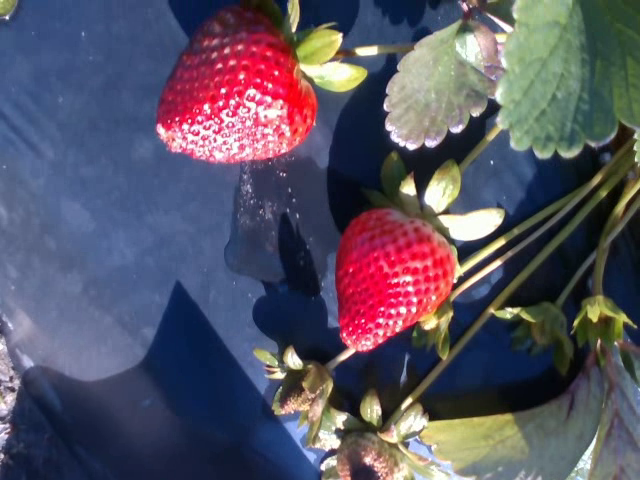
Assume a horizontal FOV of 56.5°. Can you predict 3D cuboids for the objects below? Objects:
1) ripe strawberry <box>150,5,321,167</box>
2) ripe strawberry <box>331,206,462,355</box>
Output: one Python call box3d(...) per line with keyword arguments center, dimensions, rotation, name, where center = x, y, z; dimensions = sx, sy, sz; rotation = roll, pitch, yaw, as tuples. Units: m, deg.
box3d(center=(-0.029, -0.042, 0.173), dimensions=(0.050, 0.051, 0.044), rotation=(-31, 17, -22), name="ripe strawberry")
box3d(center=(0.019, 0.014, 0.177), dimensions=(0.042, 0.049, 0.039), rotation=(22, -24, 29), name="ripe strawberry")
